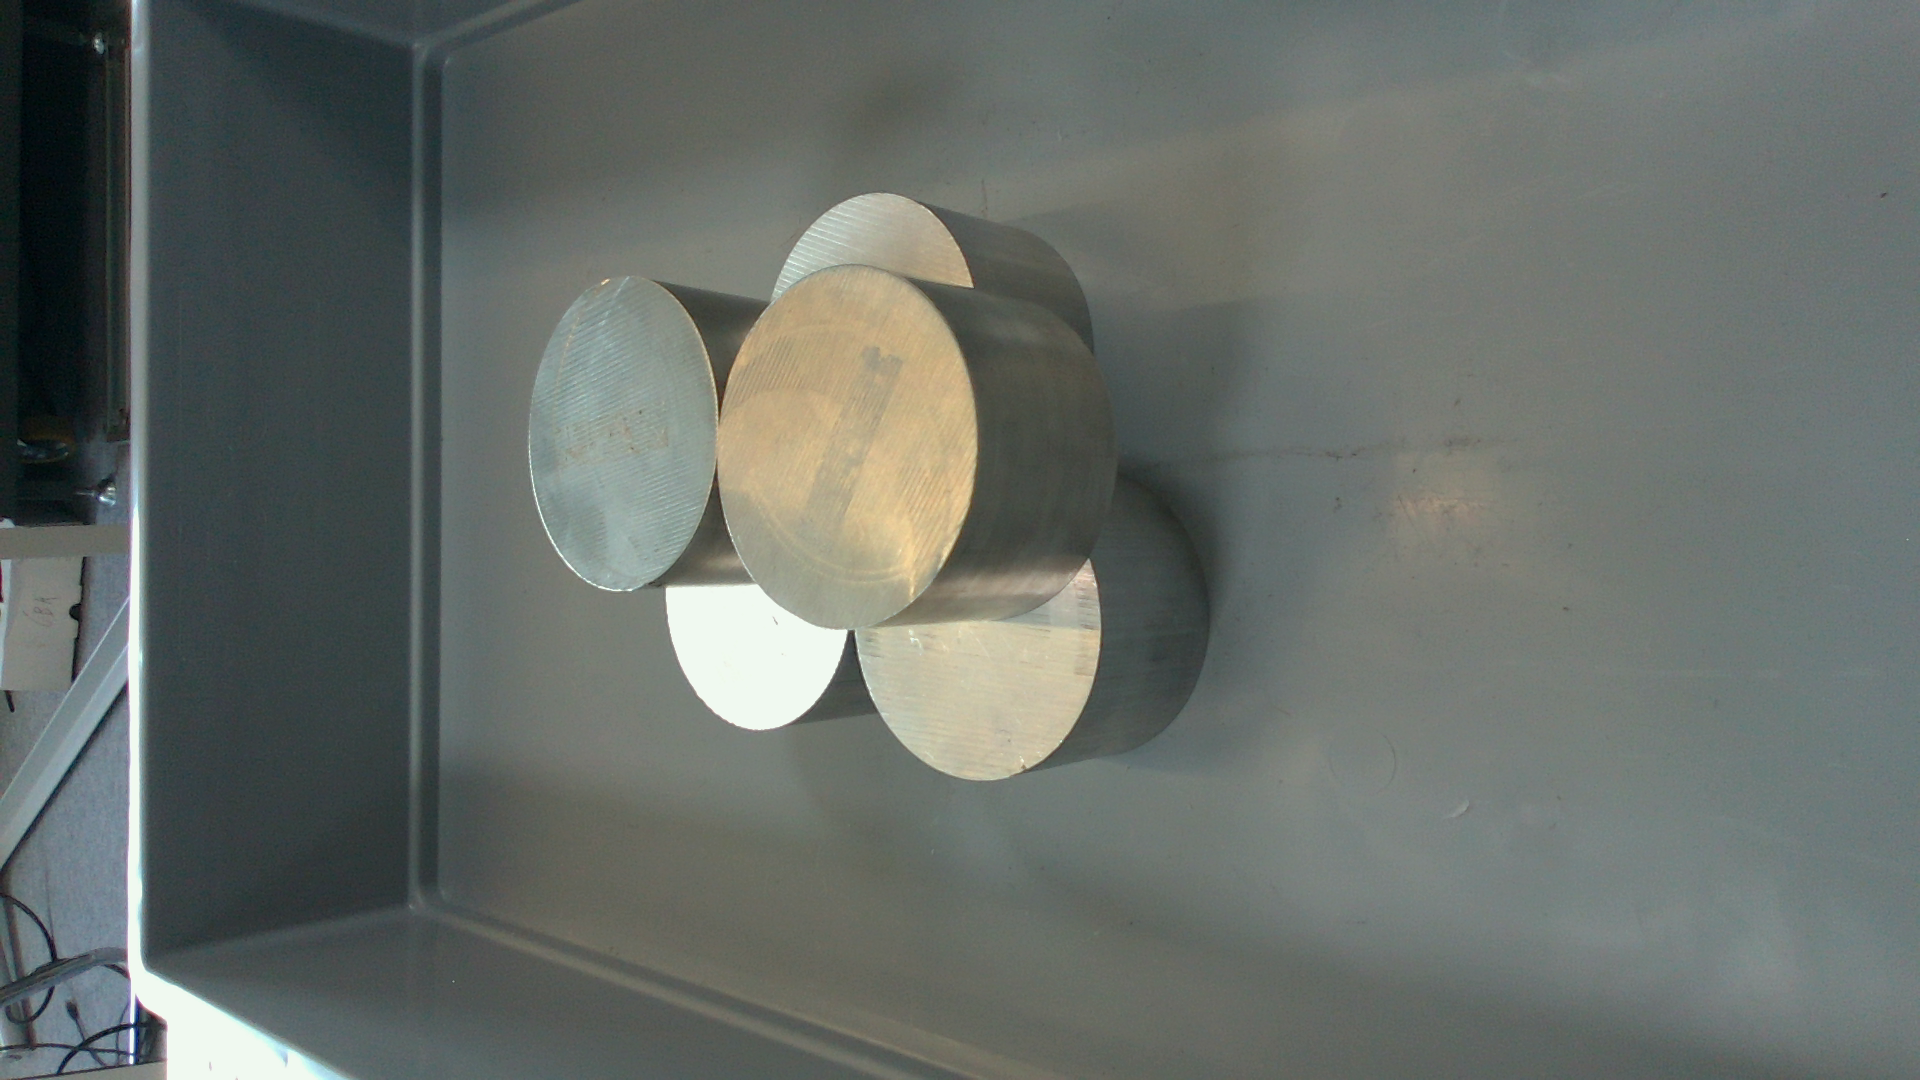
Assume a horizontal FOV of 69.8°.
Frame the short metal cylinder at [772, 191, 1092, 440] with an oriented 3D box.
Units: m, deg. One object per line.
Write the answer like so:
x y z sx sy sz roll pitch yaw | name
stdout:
-0.010 -0.053 0.386 0.080 0.050 0.080 0 90 40 | short metal cylinder

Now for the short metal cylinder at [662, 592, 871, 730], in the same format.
-0.044 0.014 0.414 0.080 0.050 0.080 0 90 40 | short metal cylinder

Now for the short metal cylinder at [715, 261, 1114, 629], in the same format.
-0.011 -0.021 0.320 0.080 0.050 0.080 0 90 40 | short metal cylinder

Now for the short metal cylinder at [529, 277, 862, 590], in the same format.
-0.072 -0.027 0.372 0.080 0.050 0.080 0 90 40 | short metal cylinder

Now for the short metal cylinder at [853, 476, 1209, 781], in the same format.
0.018 0.020 0.362 0.080 0.050 0.080 0 90 40 | short metal cylinder
